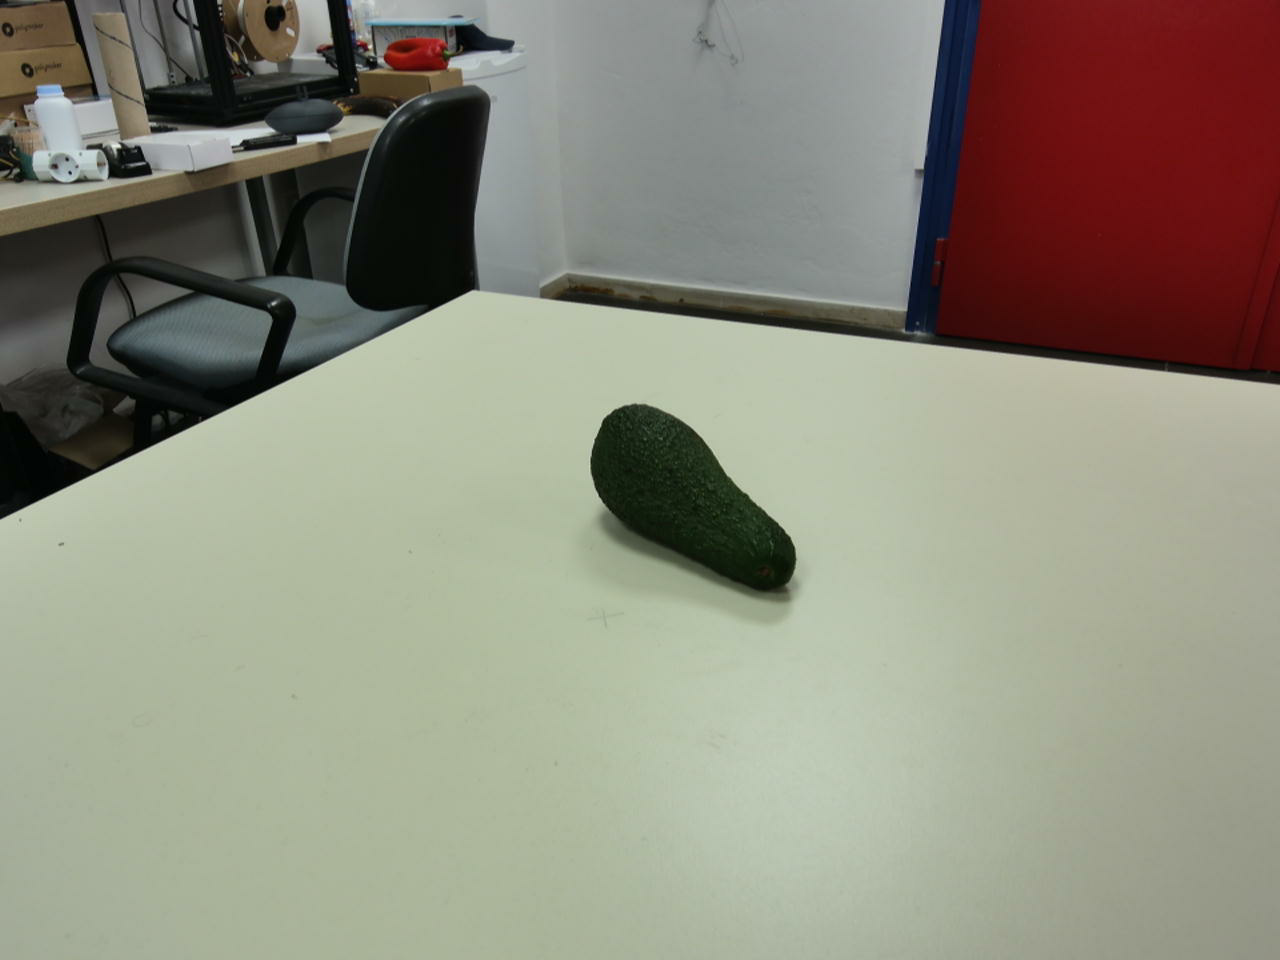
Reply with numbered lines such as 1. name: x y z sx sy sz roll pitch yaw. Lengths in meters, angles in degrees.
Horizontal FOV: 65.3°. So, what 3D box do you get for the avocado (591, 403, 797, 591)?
1. avocado: 0.029 0.003 0.517 0.141 0.067 0.063 20 31 36
